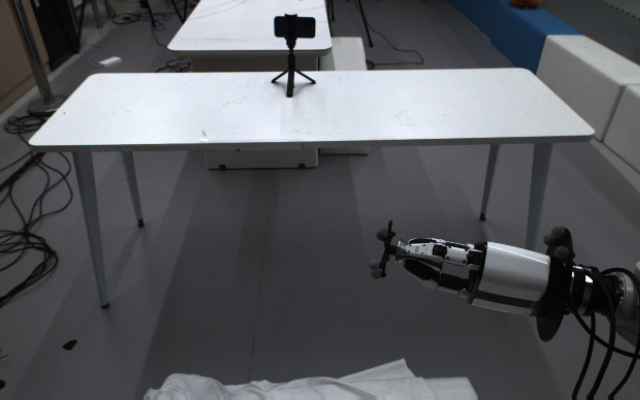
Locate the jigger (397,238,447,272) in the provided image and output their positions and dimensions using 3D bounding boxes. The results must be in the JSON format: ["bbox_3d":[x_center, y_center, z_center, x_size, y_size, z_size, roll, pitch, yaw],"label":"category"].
[{"bbox_3d":[0.156,0.079,0.722,0.071,0.043,0.043,10,35,15],"label":"jigger"}]
